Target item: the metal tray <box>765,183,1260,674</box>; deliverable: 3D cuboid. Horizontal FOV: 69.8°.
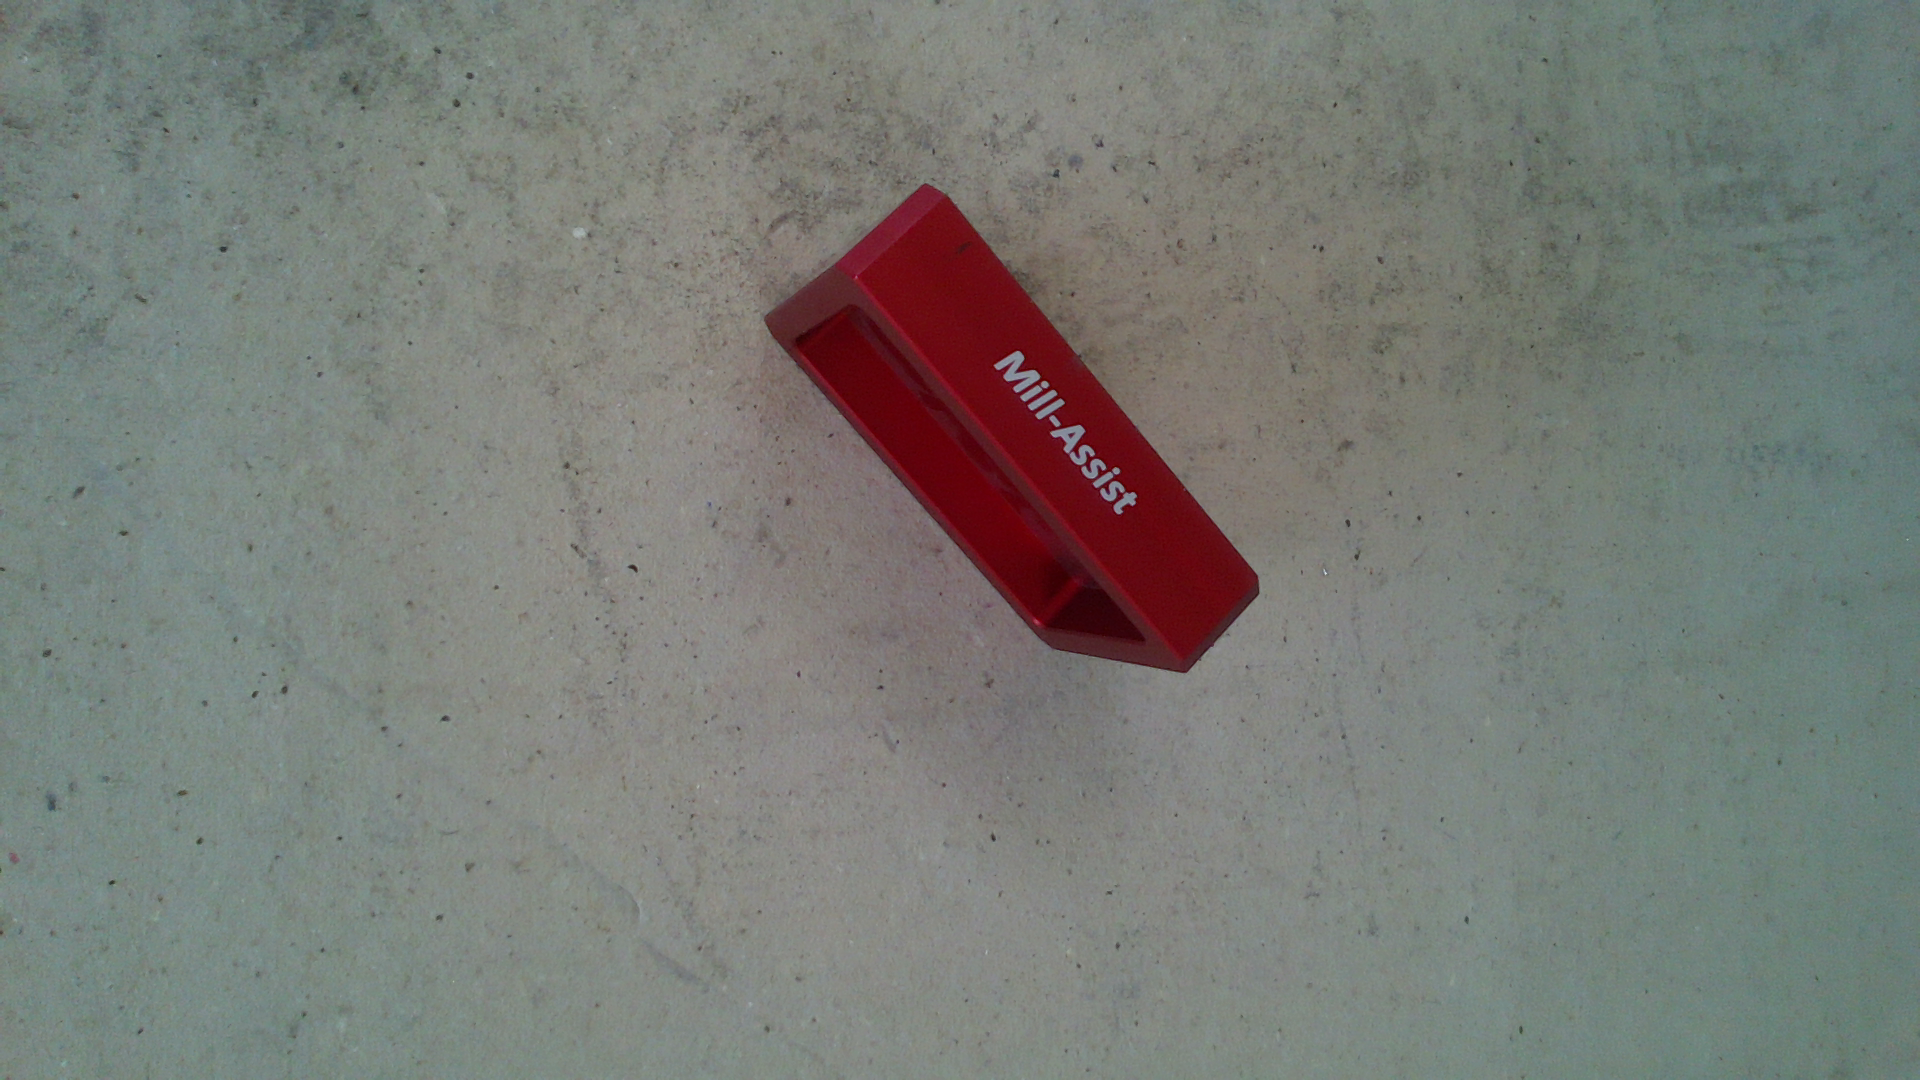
[{"bbox_3d":[0.010,-0.025,0.362,0.030,0.090,0.130,-45,104,-14],"label":"metal tray"}]
